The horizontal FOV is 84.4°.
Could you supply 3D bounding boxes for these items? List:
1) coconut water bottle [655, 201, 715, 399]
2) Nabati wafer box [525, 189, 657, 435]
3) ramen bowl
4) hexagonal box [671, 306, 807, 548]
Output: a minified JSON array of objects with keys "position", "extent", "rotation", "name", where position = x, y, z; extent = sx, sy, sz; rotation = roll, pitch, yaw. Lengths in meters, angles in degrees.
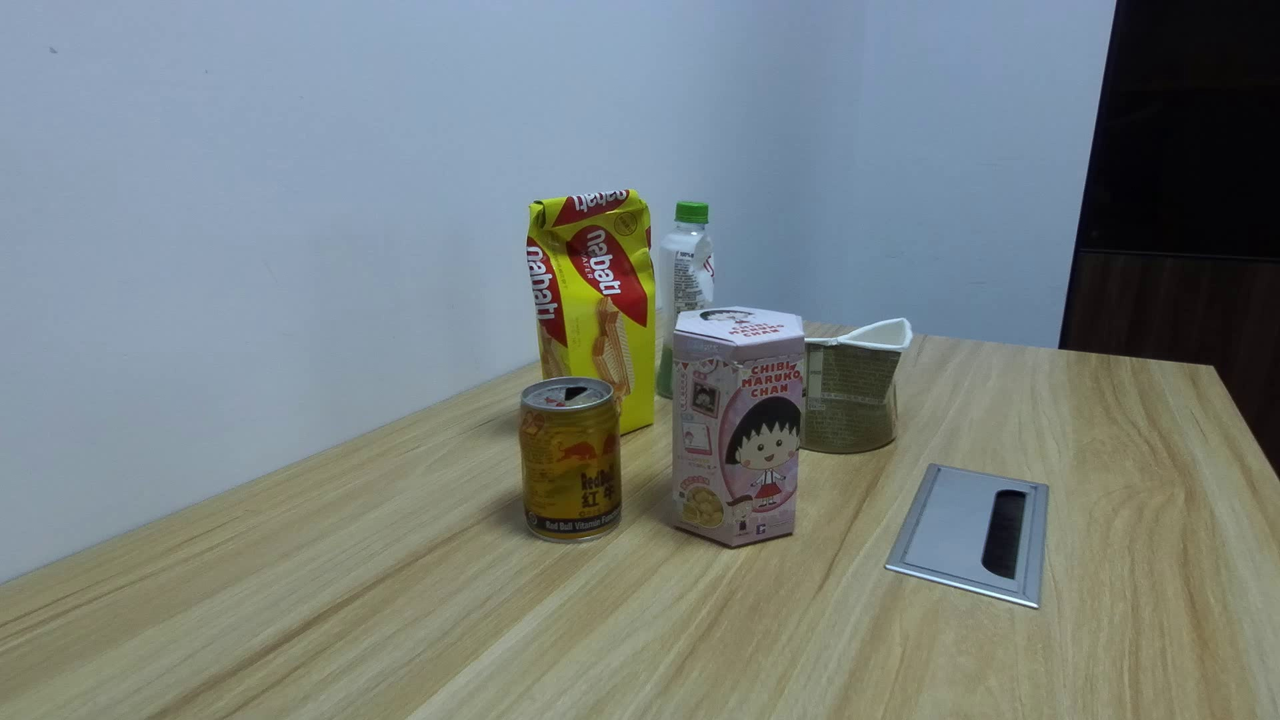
[{"position":[0.048,-0.058,0.686],"extent":[0.069,0.187,0.069],"rotation":[0,13,0],"name":"coconut water bottle"},{"position":[-0.035,-0.034,0.590],"extent":[0.114,0.205,0.042],"rotation":[-18,23,-39],"name":"Nabati wafer box"},{"position":[0.159,0.015,0.606],"extent":[0.128,0.093,0.112],"rotation":[5,18,16],"name":"ramen bowl"},{"position":[0.063,0.041,0.455],"extent":[0.091,0.136,0.083],"rotation":[-8,19,-22],"name":"hexagonal box"}]
